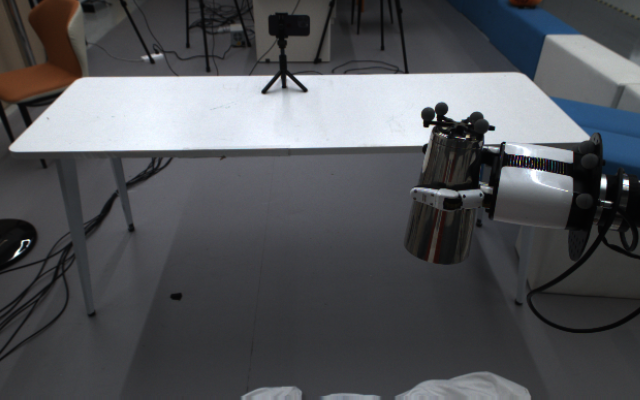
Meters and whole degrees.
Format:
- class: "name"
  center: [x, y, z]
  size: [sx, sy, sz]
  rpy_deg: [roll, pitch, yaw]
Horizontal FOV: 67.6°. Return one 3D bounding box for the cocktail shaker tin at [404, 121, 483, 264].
- class: "cocktail shaker tin"
  center: [0.171, -0.011, 0.650]
  size: [0.093, 0.170, 0.093]
  rpy_deg: [3, 26, -1]
